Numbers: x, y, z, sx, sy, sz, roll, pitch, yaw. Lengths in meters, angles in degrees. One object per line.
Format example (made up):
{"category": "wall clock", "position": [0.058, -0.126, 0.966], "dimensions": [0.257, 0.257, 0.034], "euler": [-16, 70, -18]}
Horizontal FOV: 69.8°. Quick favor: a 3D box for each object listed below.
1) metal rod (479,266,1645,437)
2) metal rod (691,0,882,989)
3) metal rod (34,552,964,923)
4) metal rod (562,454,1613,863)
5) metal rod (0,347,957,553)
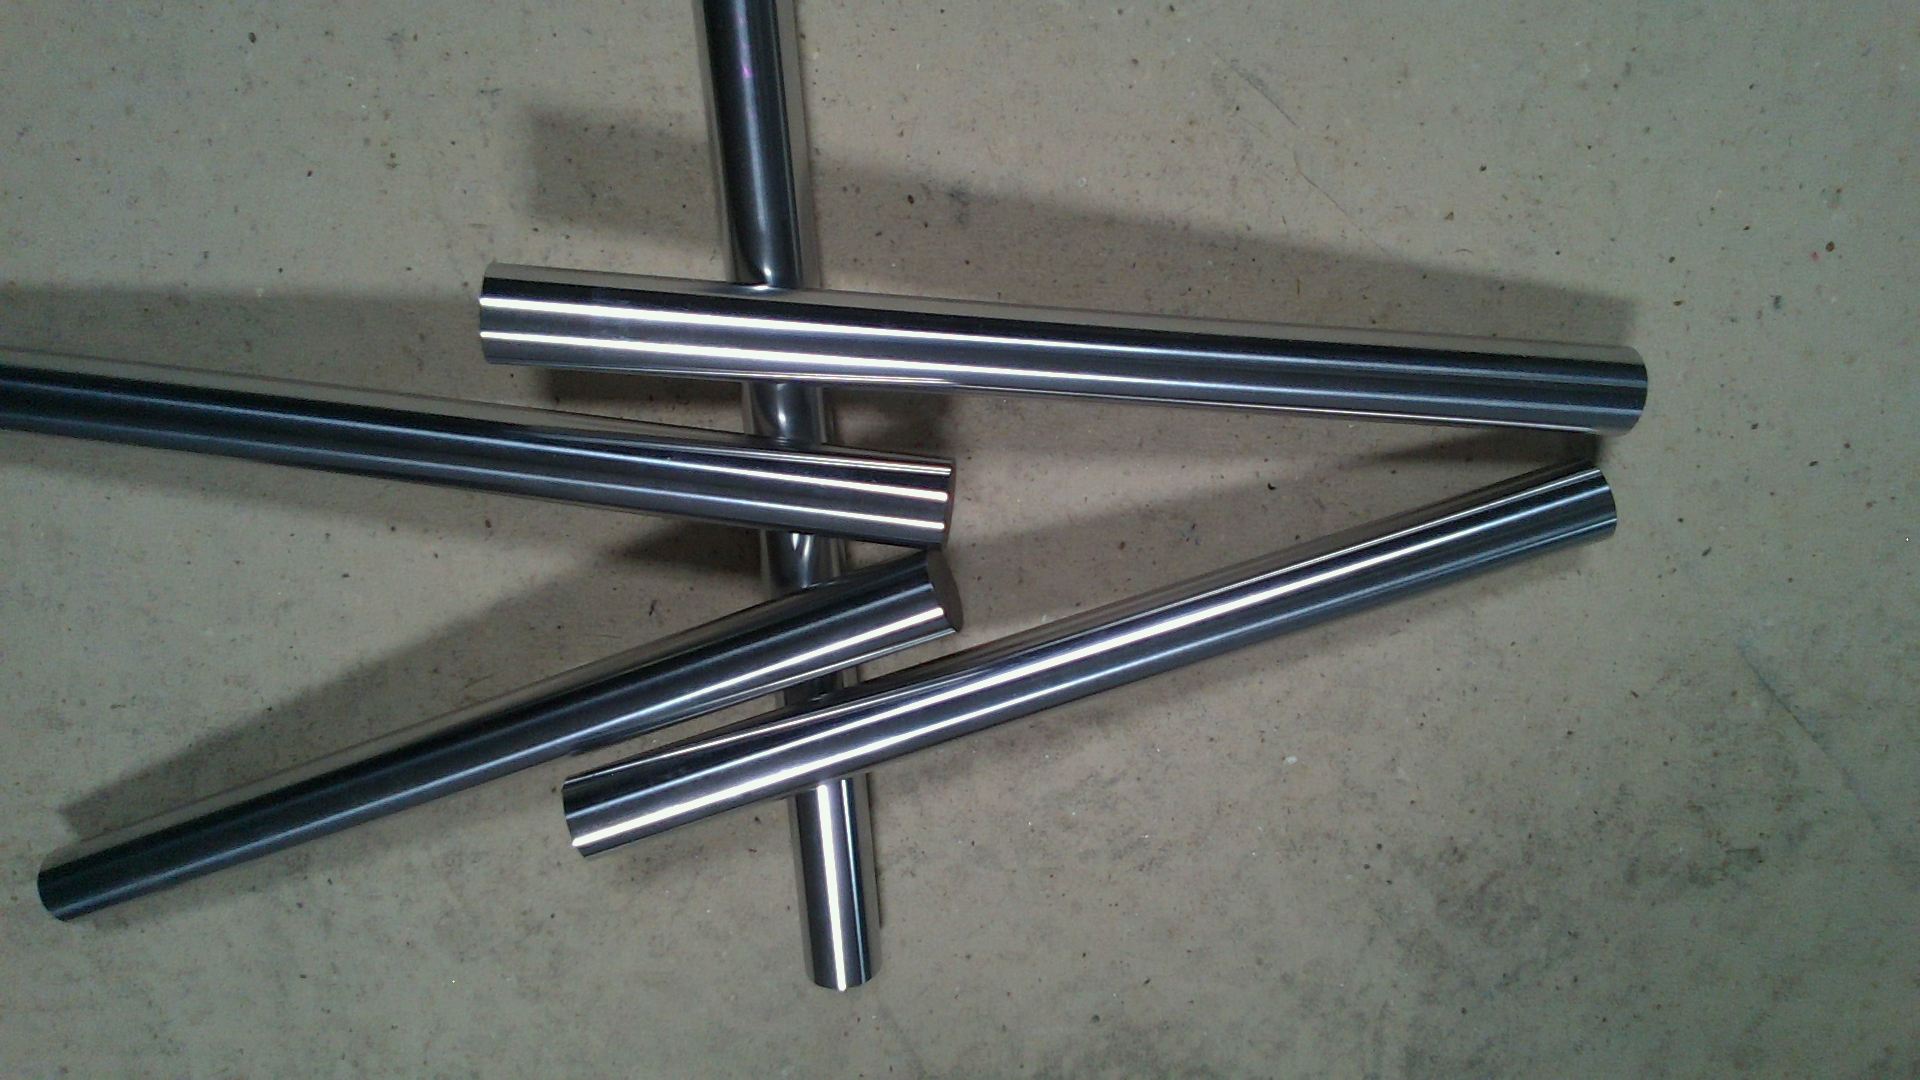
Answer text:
{"category": "metal rod", "position": [0.033, -0.048, 0.359], "dimensions": [0.300, 0.025, 0.025], "euler": [3, 110, -8]}
{"category": "metal rod", "position": [-0.046, -0.003, 0.392], "dimensions": [0.025, 0.025, 0.300], "euler": [-3, 110, 1]}
{"category": "metal rod", "position": [-0.142, 0.060, 0.401], "dimensions": [0.299, 0.025, 0.025], "euler": [-19, 109, 13]}
{"category": "metal rod", "position": [0.036, 0.033, 0.390], "dimensions": [0.300, 0.025, 0.025], "euler": [-18, 109, -1]}
{"category": "metal rod", "position": [-0.151, -0.027, 0.368], "dimensions": [0.300, 0.025, 0.025], "euler": [7, 110, 3]}
